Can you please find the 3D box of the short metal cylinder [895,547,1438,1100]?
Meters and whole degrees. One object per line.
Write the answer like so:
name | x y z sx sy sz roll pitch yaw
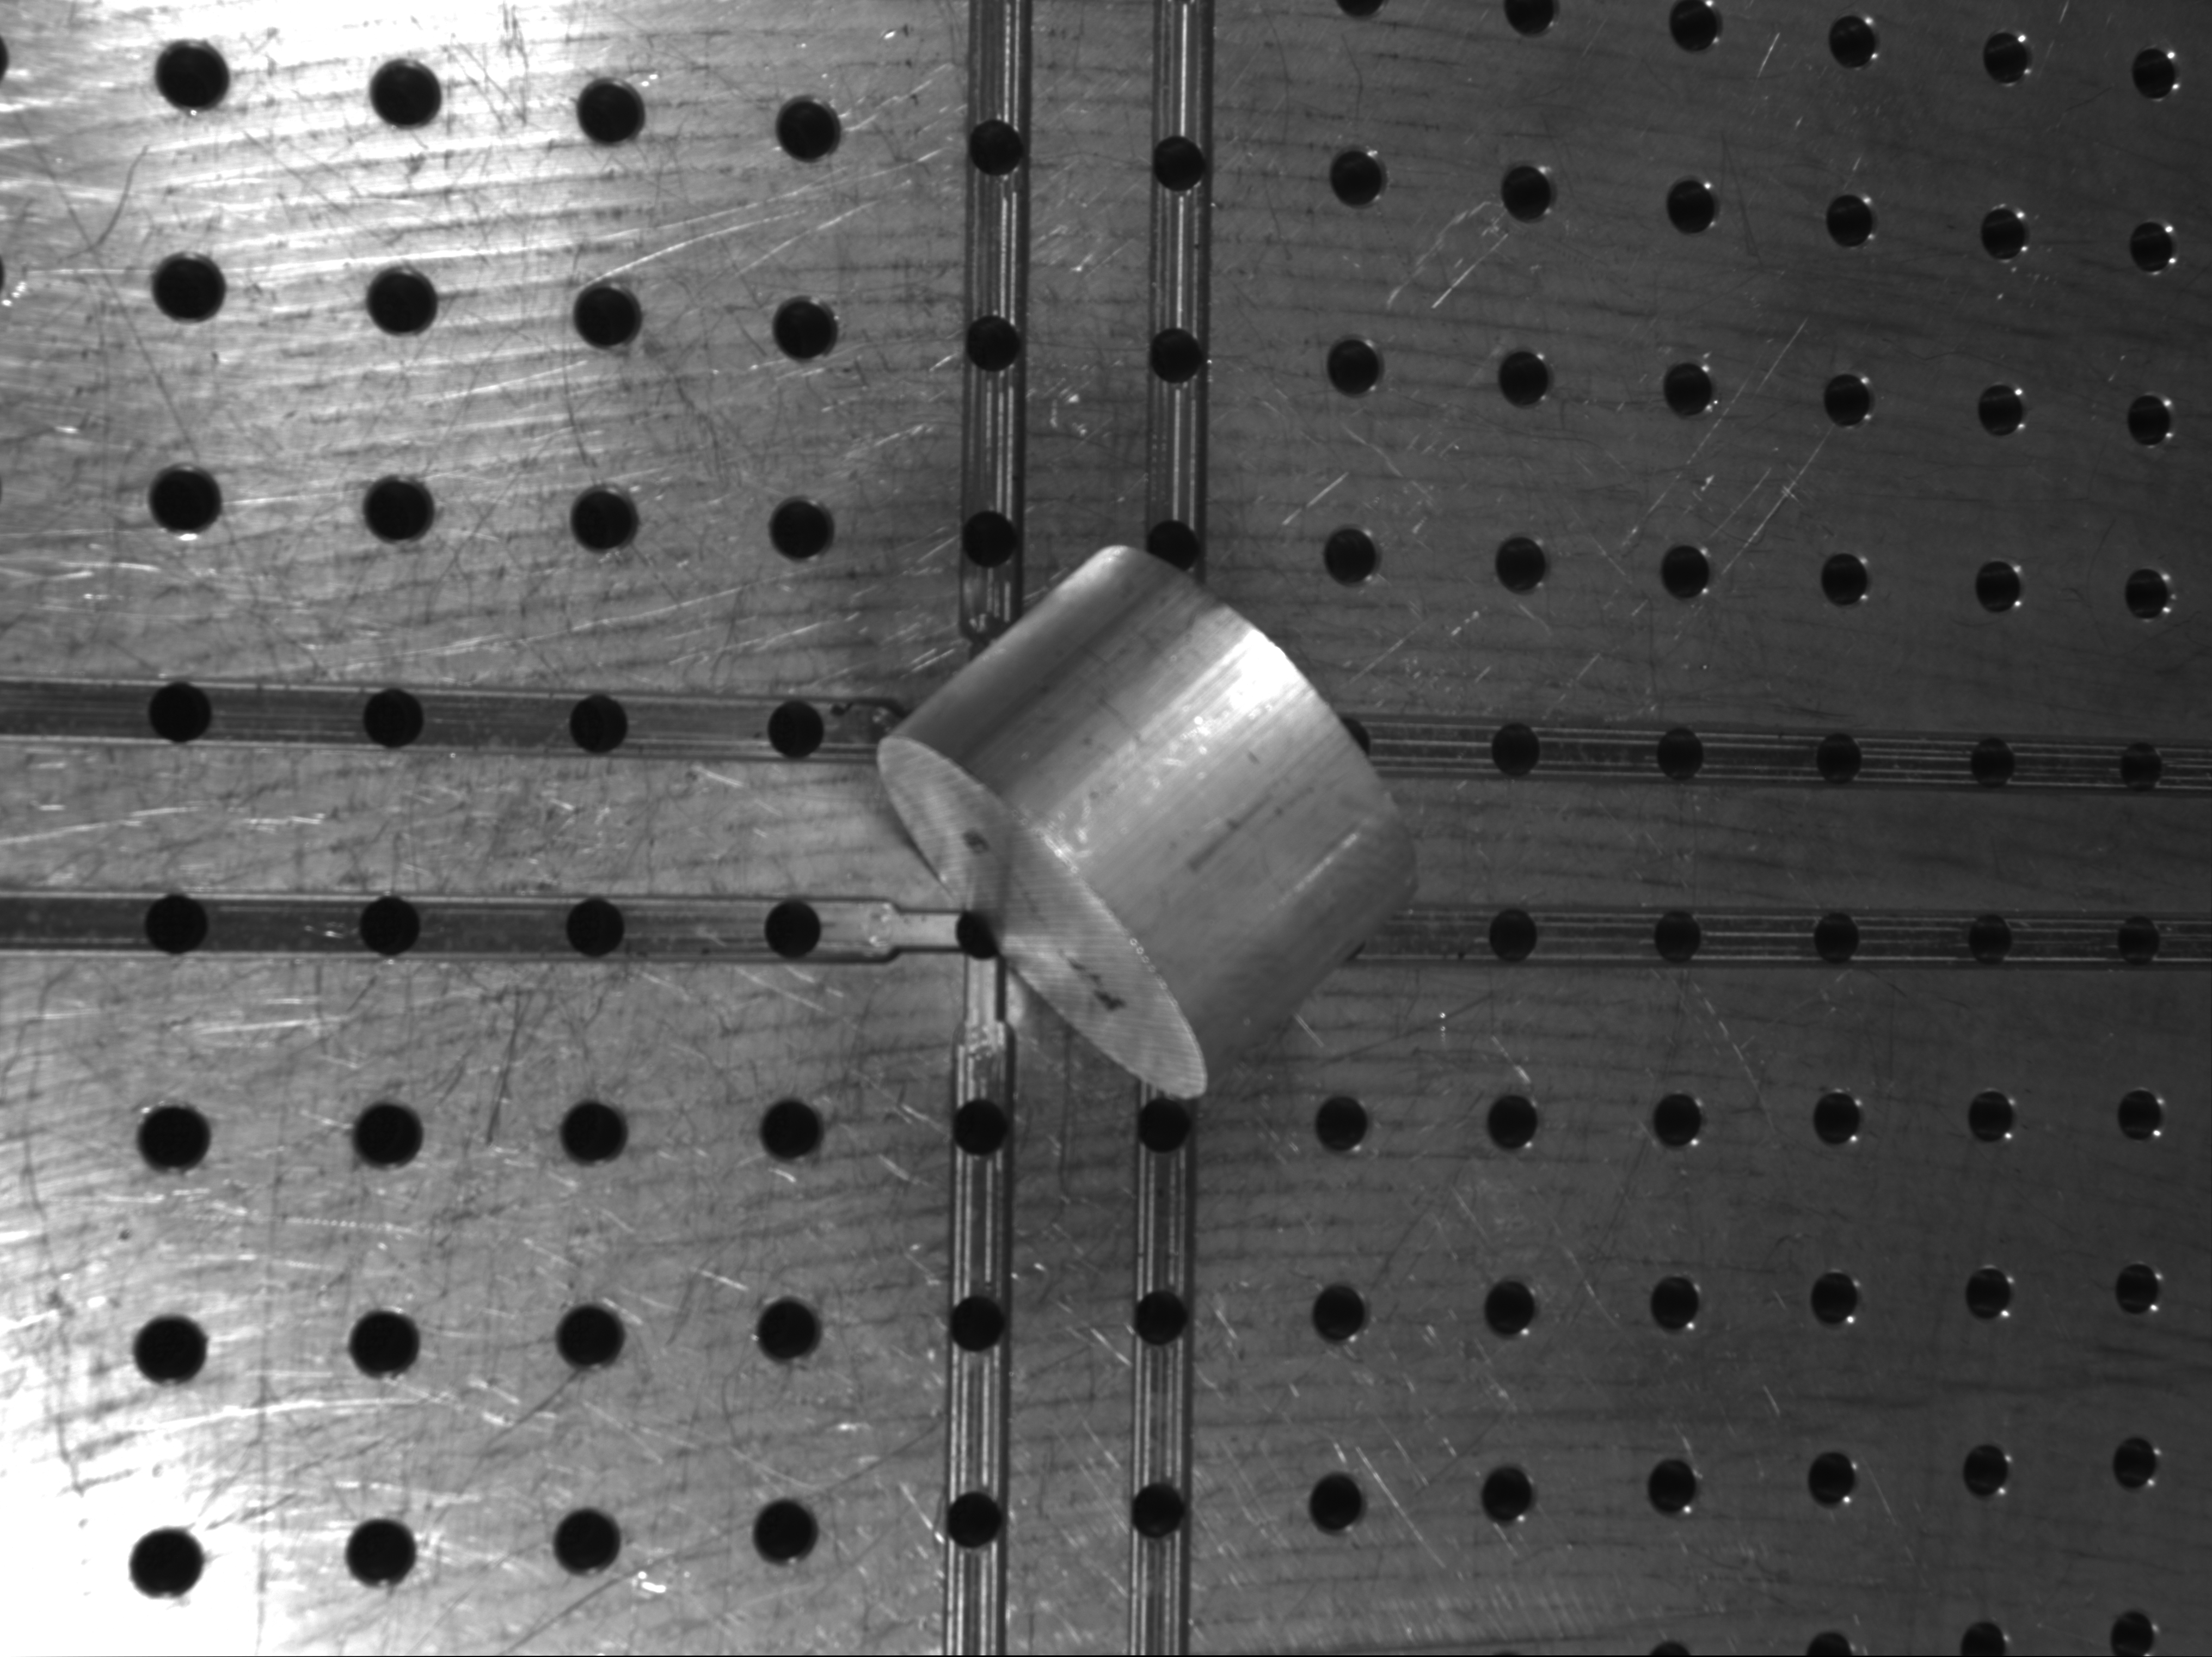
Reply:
short metal cylinder | 0.010 -0.001 0.620 0.050 0.080 0.080 -42 103 -15
